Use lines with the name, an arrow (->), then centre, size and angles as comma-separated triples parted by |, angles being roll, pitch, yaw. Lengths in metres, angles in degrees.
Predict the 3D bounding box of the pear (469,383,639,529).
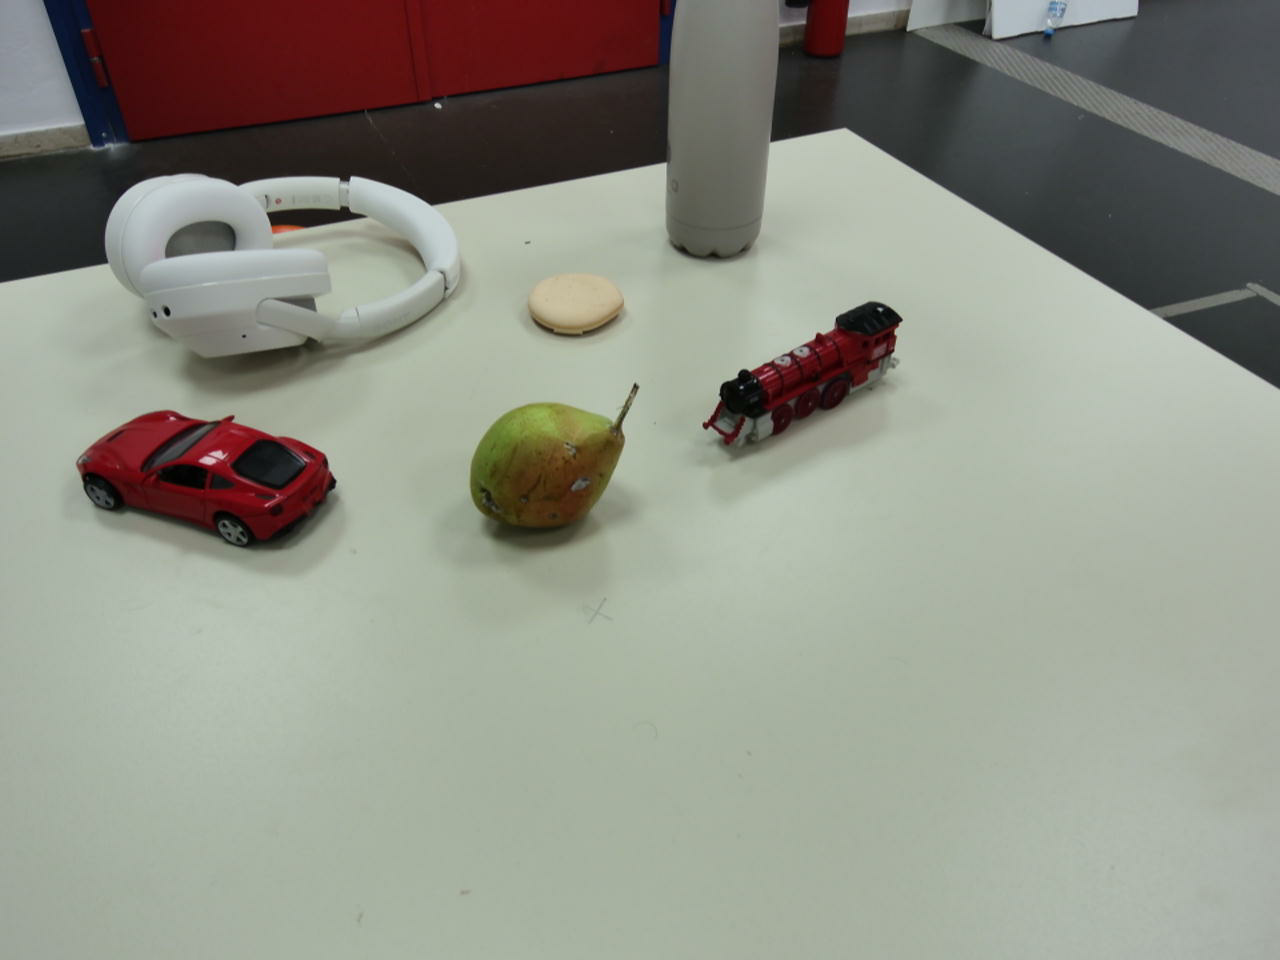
pear -> -0.046, -0.009, 0.492 | 0.070, 0.069, 0.068 | 16, 41, 20
